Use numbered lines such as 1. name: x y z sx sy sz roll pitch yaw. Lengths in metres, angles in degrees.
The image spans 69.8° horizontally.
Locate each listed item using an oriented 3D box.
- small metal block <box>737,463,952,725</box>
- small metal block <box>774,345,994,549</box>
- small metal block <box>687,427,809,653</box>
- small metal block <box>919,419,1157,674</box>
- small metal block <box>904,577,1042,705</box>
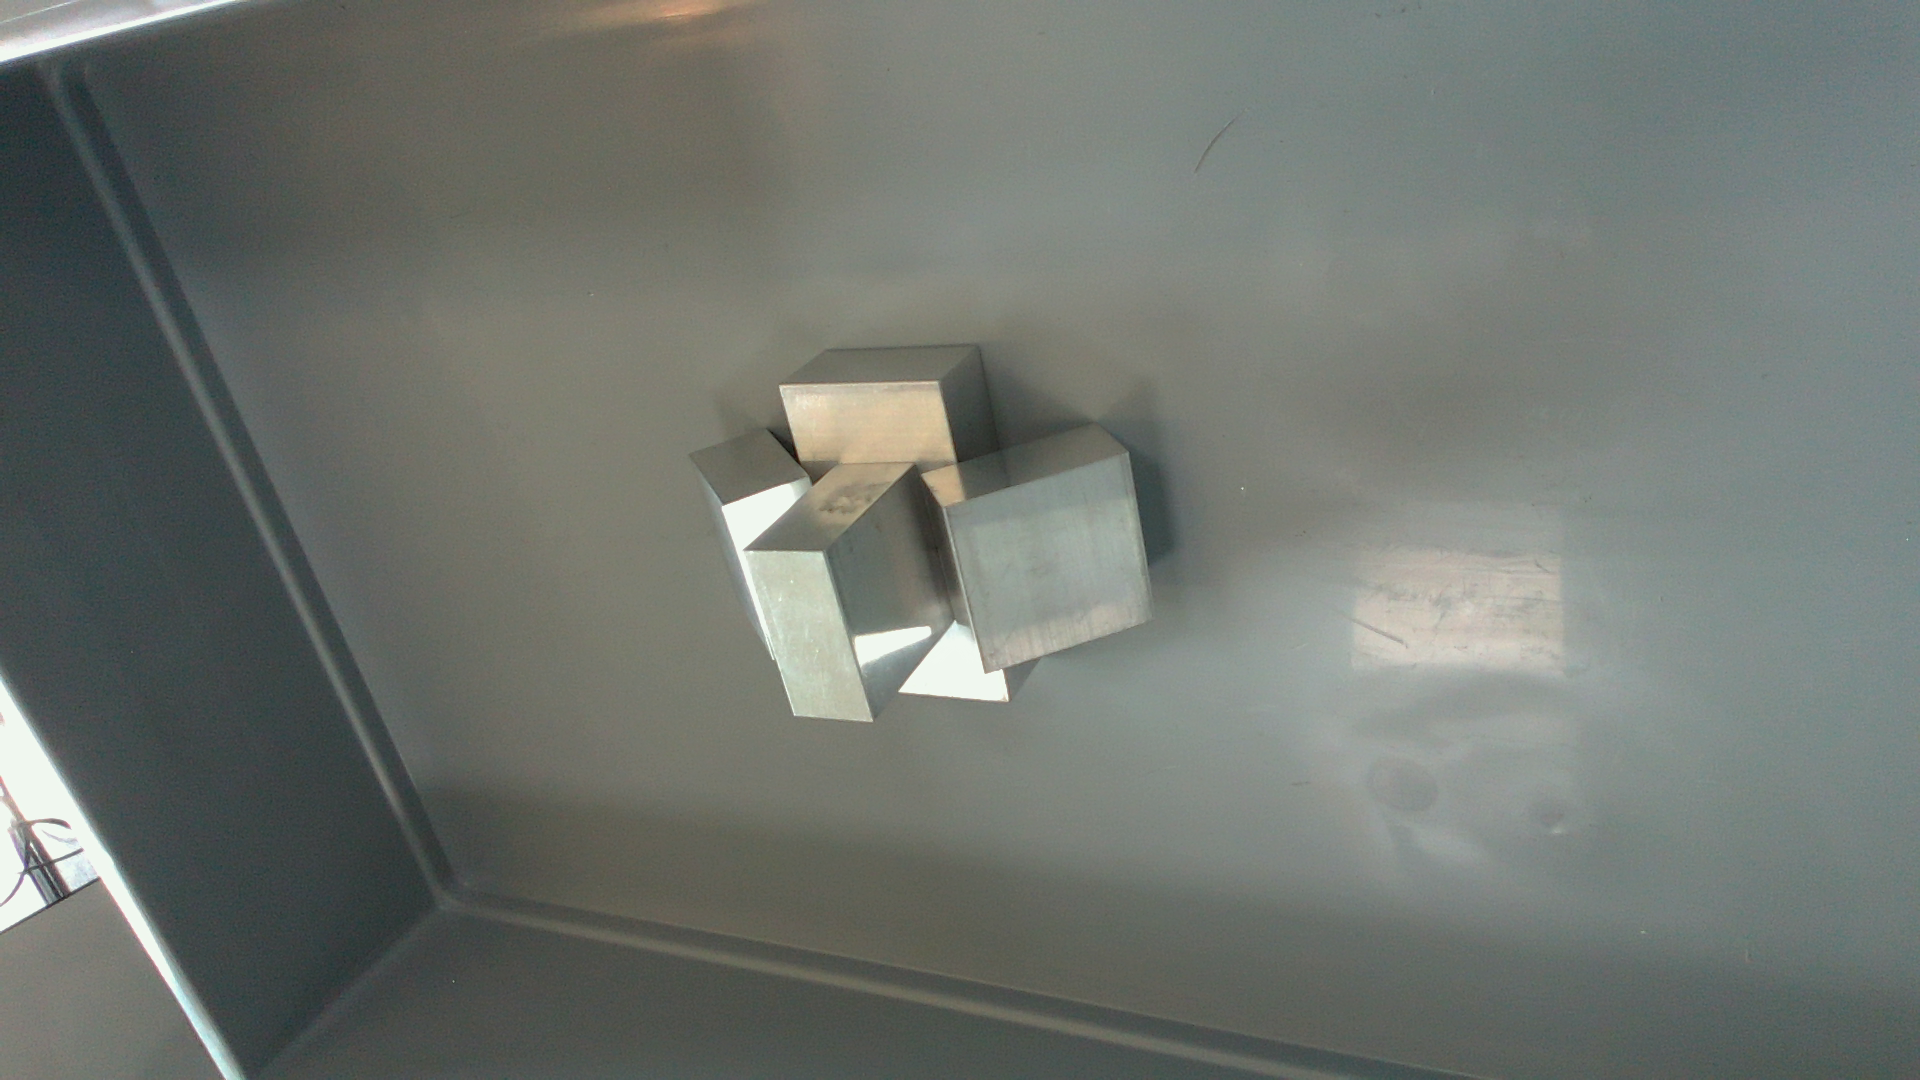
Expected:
1. small metal block: -0.028 0.013 0.365 0.025 0.050 0.050 0 119 28
2. small metal block: -0.018 -0.026 0.384 0.050 0.025 0.050 2 120 26
3. small metal block: -0.056 0.000 0.404 0.050 0.025 0.050 -136 29 -61
4. small metal block: 0.021 0.001 0.365 0.050 0.025 0.050 -17 116 -8
5. small metal block: -0.007 0.019 0.406 0.050 0.025 0.050 3 120 27
